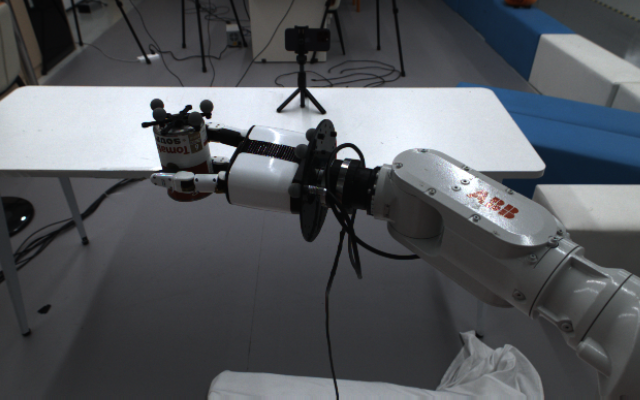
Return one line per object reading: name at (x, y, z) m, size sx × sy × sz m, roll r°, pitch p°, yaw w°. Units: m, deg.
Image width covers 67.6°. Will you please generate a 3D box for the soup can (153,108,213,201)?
soup can at (-0.181, -0.056, 0.657) m, size 0.067 × 0.101 × 0.067 m, roll -2°, pitch 33°, yaw 1°
